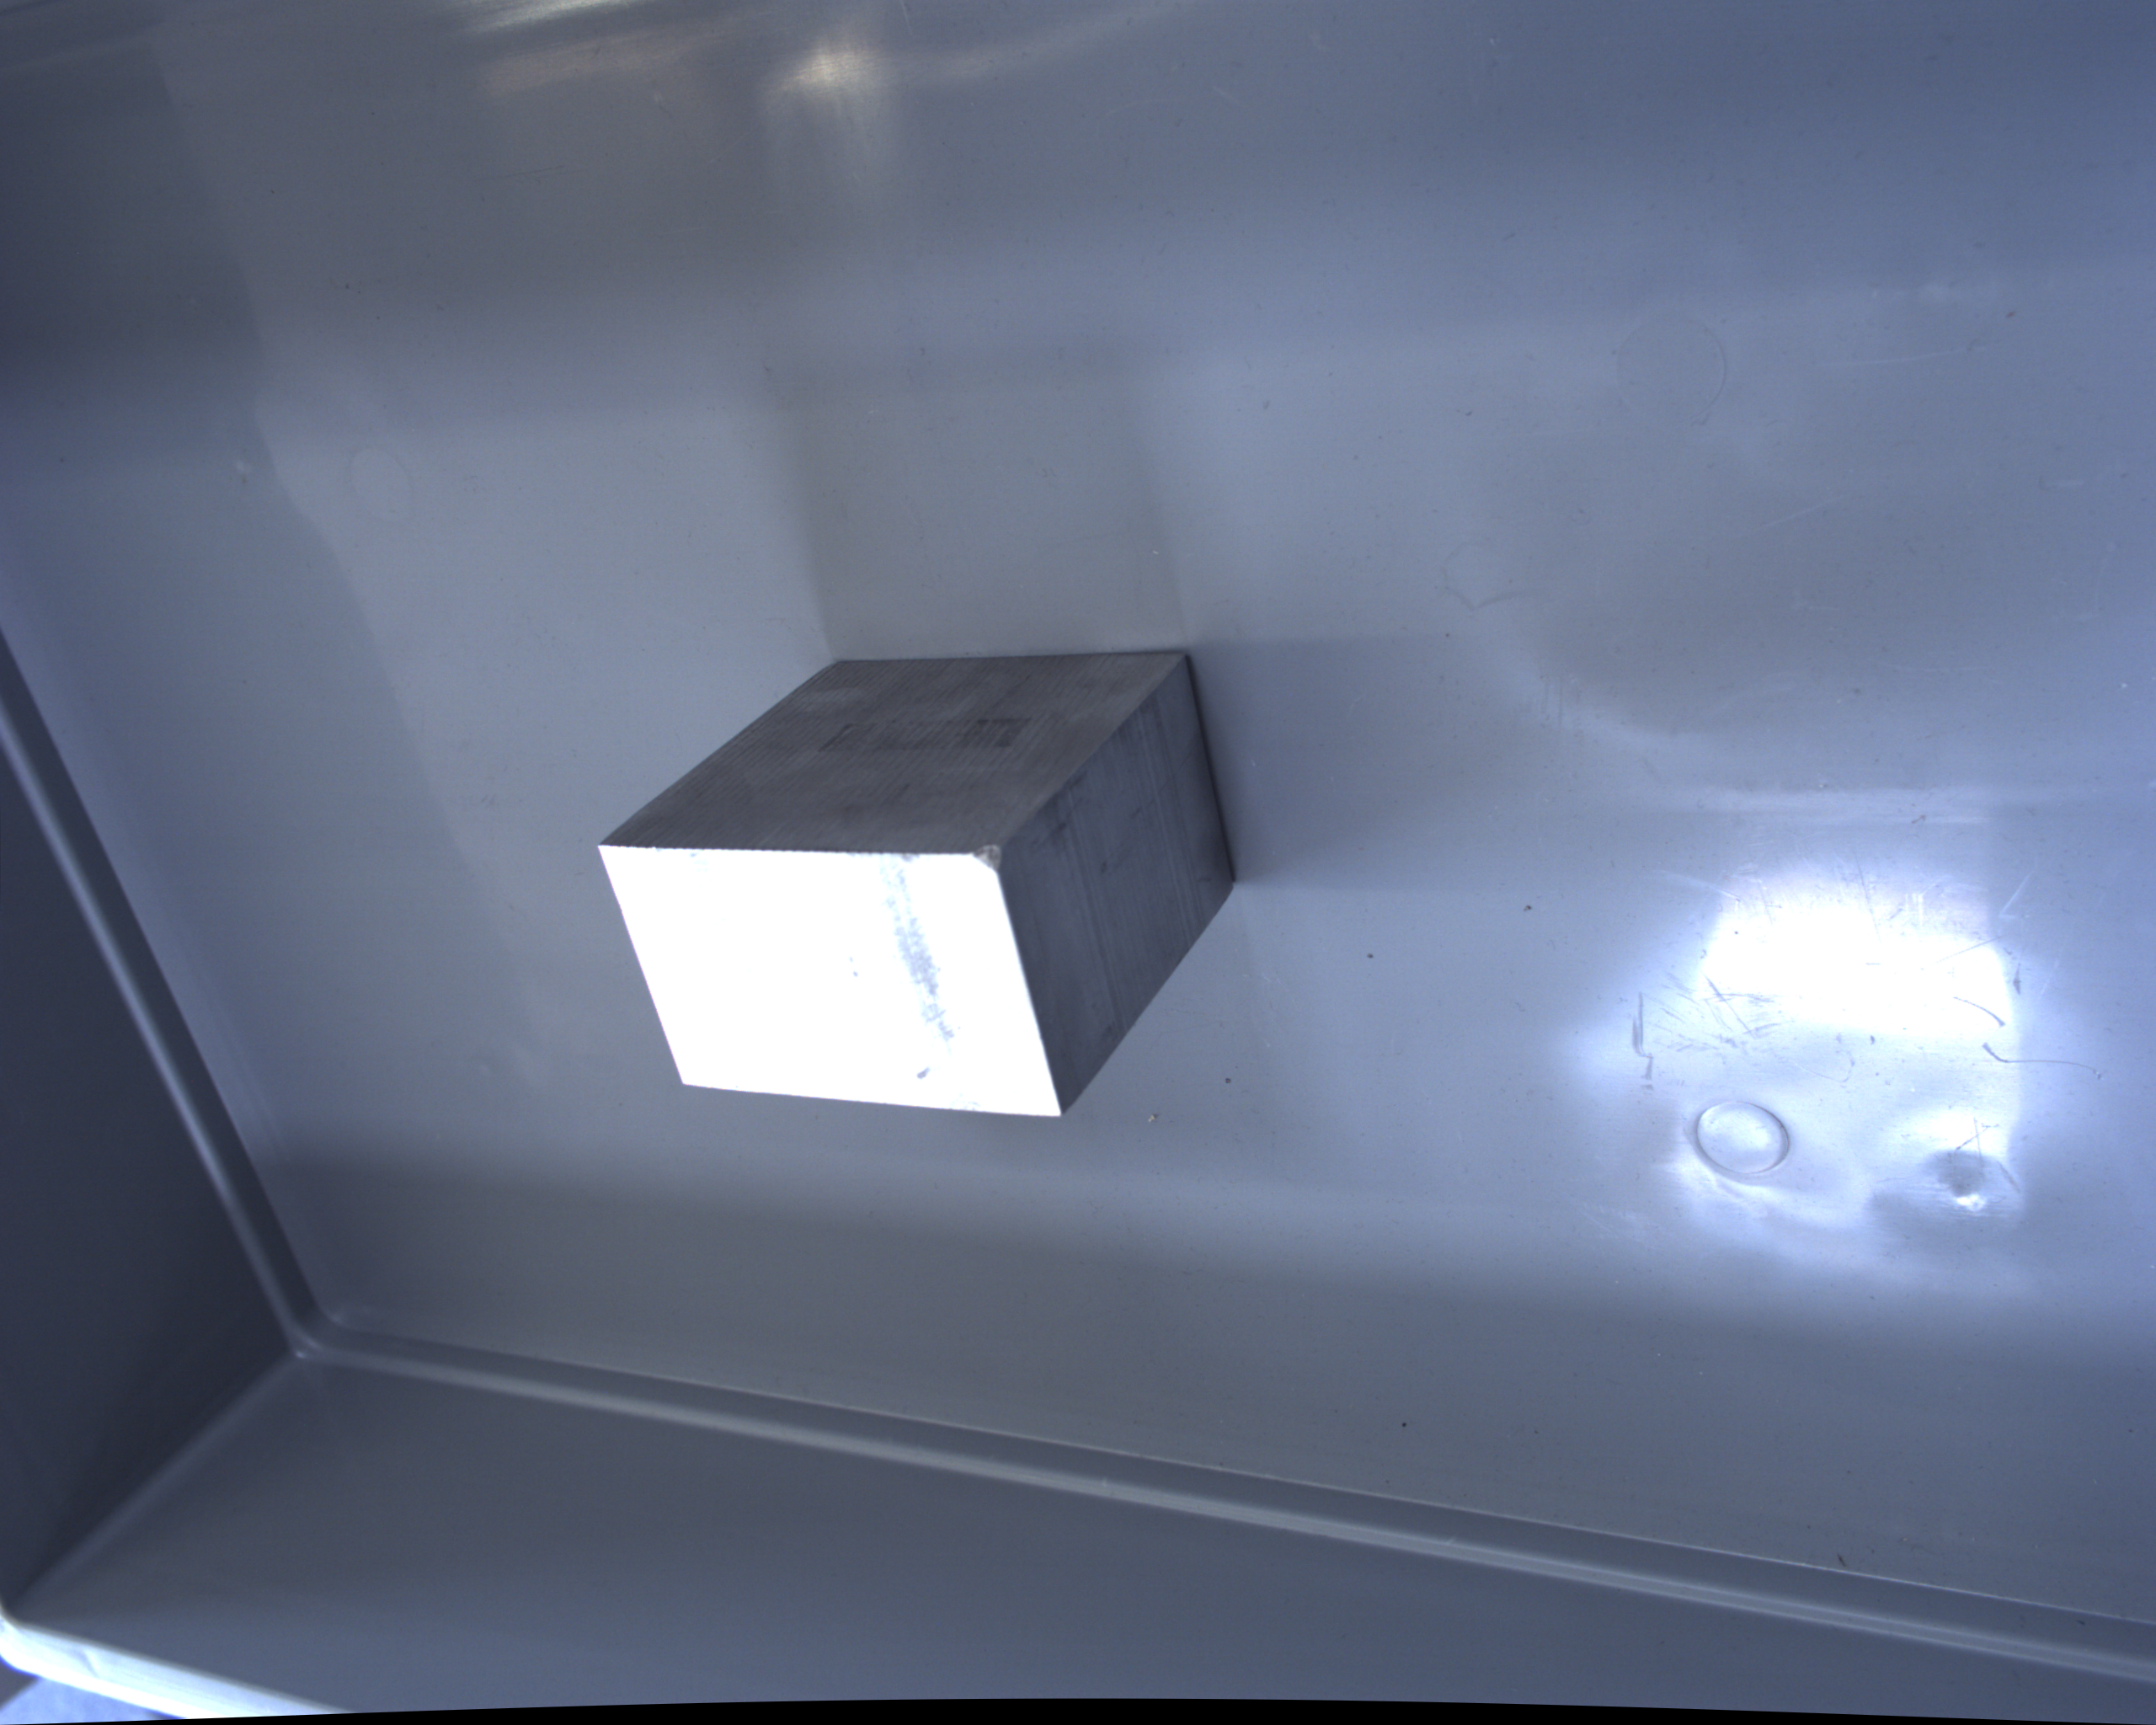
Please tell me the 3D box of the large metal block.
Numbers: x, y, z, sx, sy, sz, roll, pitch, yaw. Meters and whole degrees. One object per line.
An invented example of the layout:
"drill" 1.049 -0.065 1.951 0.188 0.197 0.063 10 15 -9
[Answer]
"large metal block" -0.027 0.001 0.385 0.080 0.080 0.050 1 119 27
